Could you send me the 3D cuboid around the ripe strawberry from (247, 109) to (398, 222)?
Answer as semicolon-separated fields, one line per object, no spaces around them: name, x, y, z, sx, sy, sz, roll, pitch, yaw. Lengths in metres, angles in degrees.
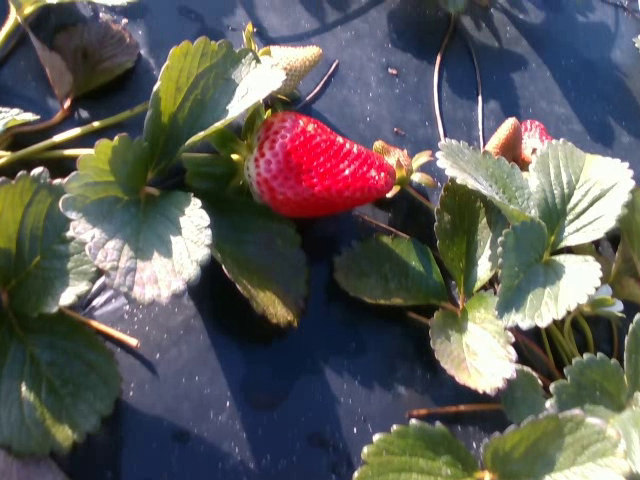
ripe strawberry;0.002;-0.031;0.271;0.072;0.057;0.055;6;19;1
